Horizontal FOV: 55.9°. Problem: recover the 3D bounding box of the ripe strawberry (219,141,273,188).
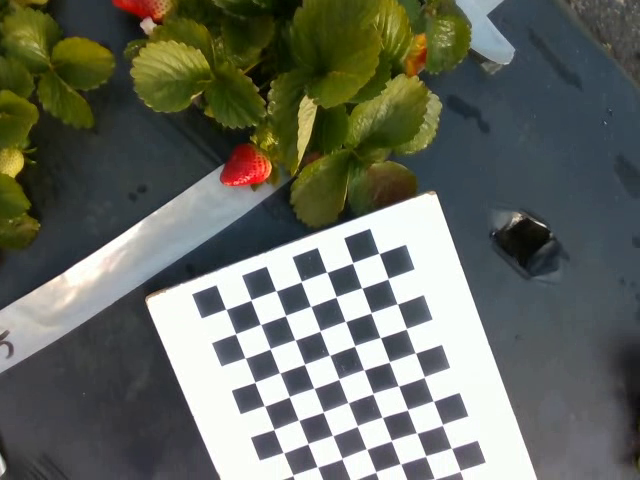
[{"bbox_3d":[-0.062,-0.056,0.486,0.055,0.050,0.035,-29,12,-11],"label":"ripe strawberry"}]
